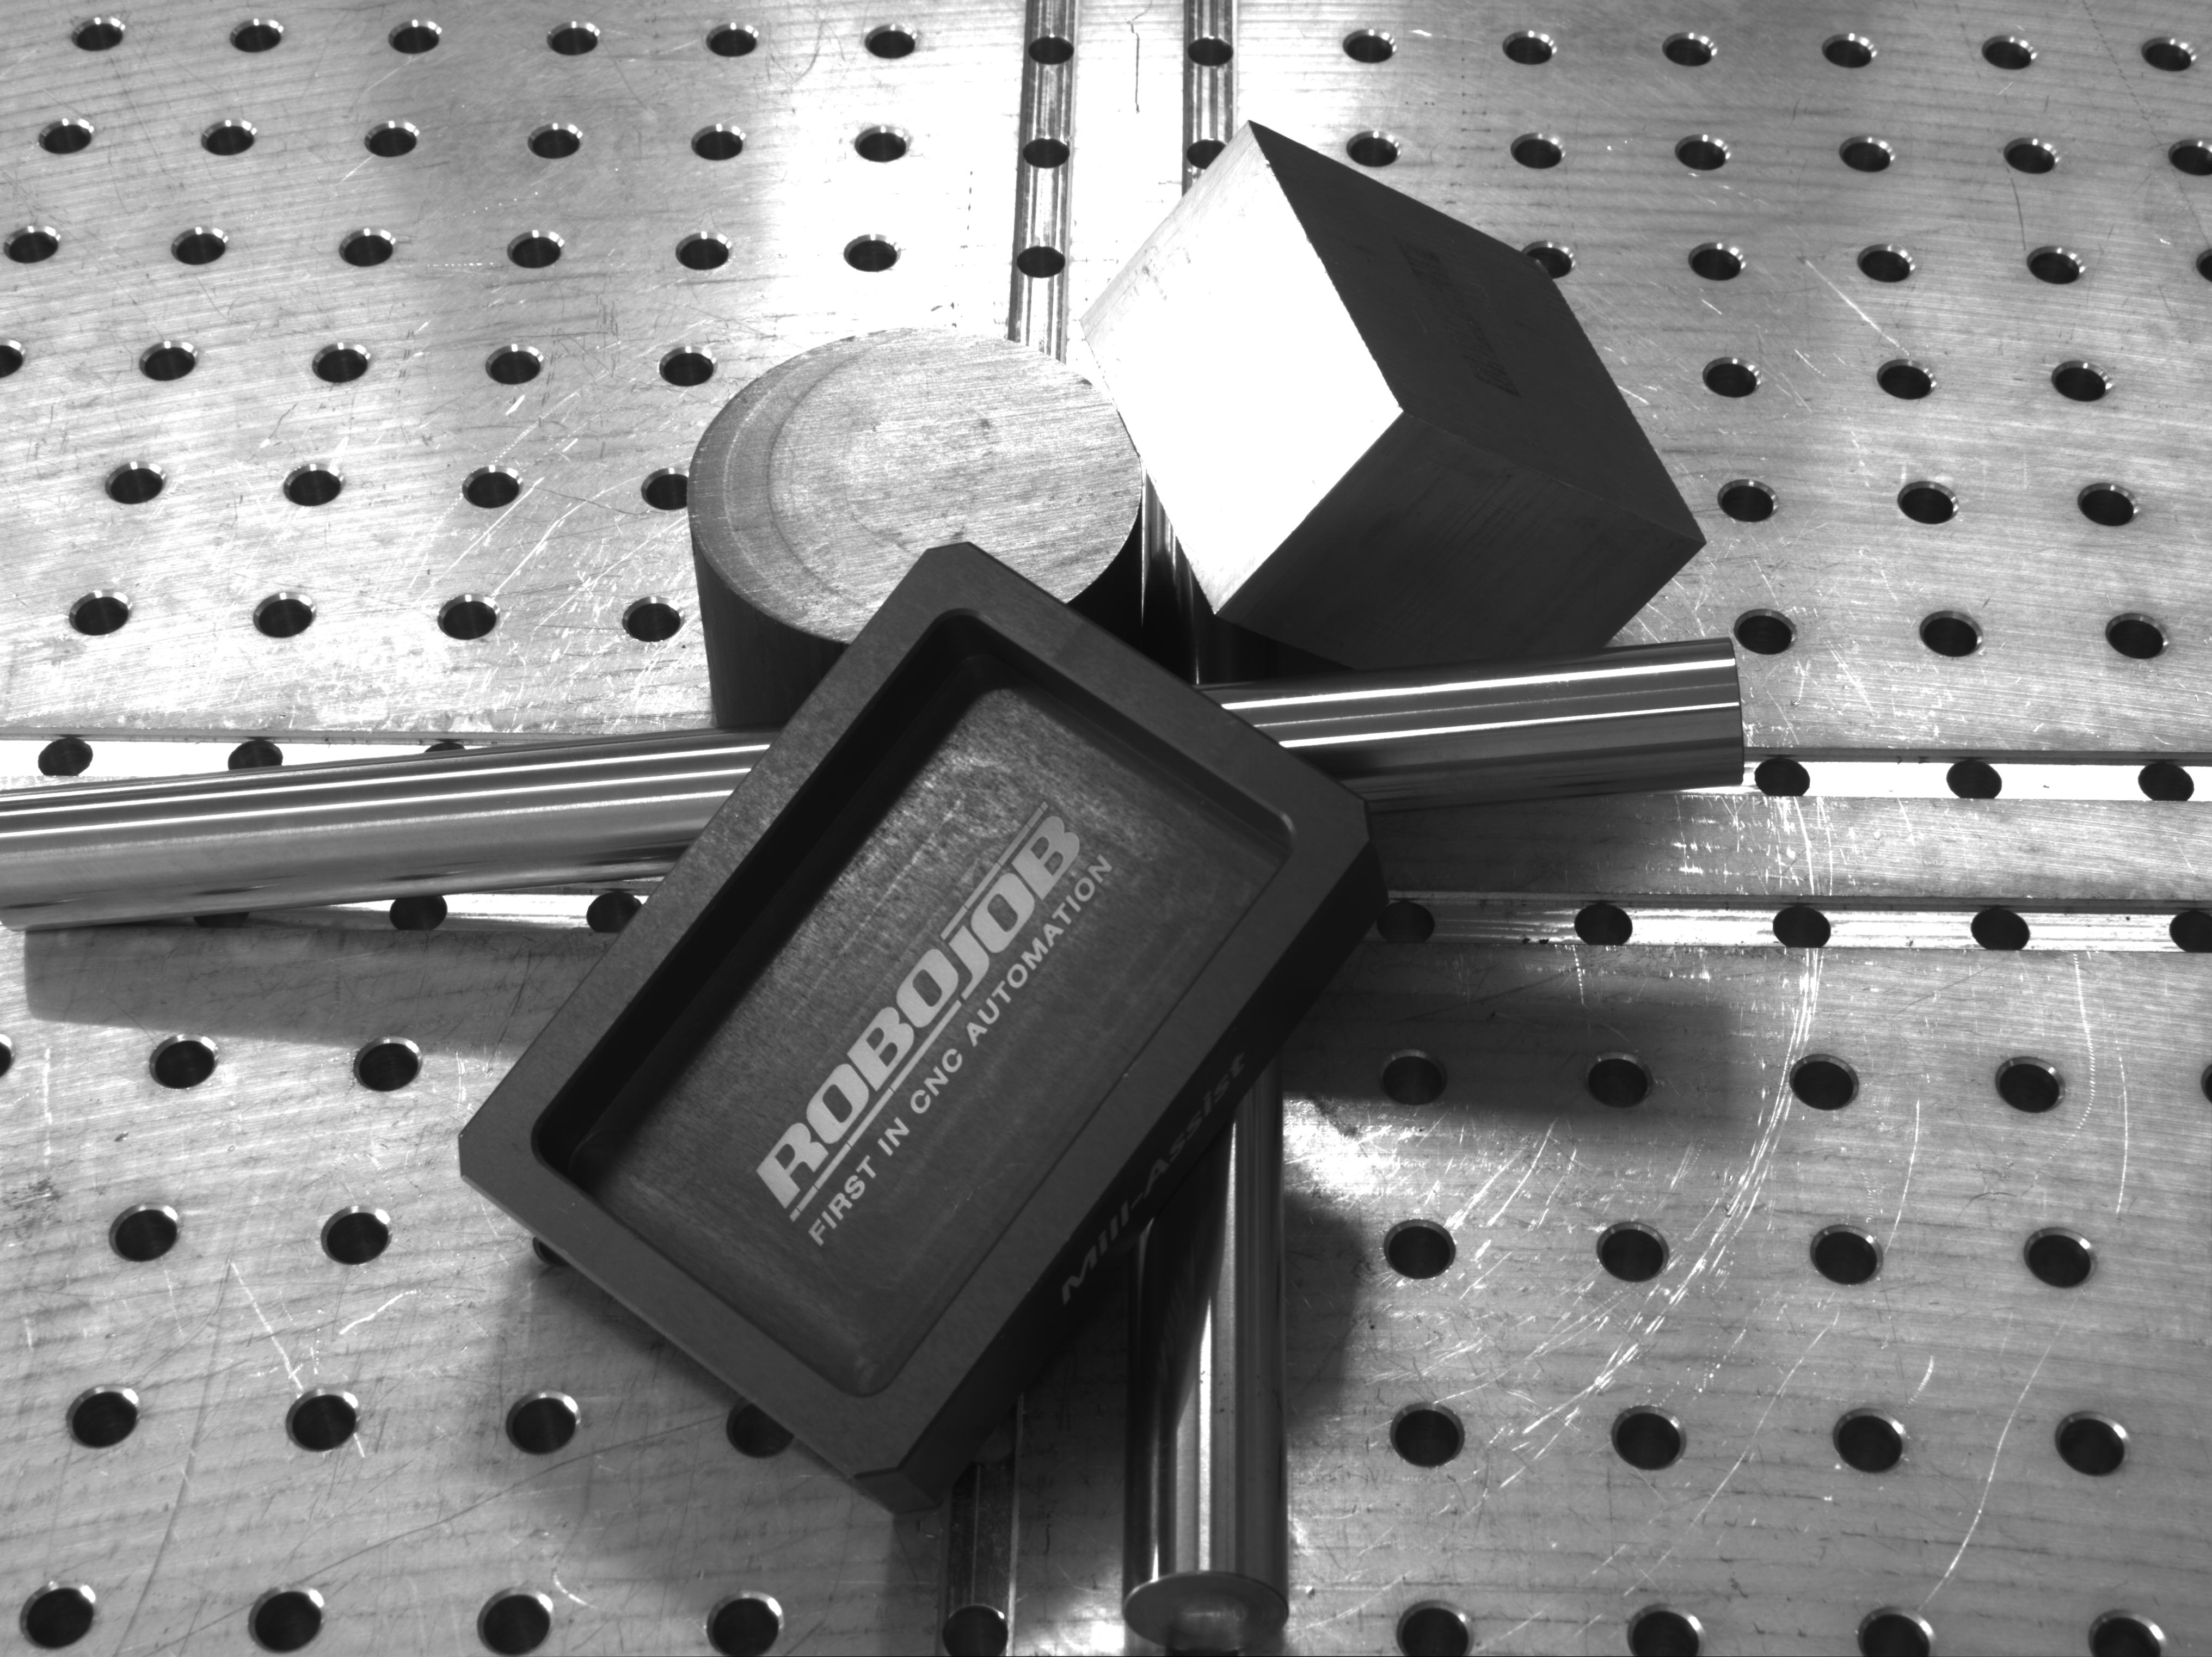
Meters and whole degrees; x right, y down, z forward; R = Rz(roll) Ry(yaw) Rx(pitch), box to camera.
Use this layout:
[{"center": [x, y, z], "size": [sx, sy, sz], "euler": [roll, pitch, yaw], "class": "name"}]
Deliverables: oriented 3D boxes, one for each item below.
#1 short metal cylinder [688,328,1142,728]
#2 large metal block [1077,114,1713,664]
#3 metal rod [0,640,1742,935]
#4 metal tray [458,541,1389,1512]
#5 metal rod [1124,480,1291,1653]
[{"center": [-0.033, -0.045, 0.667], "size": [0.080, 0.050, 0.080], "euler": [0, 50, 0], "class": "short metal cylinder"}, {"center": [0.051, -0.072, 0.664], "size": [0.080, 0.050, 0.080], "euler": [17, 37, -40], "class": "large metal block"}, {"center": [-0.043, -0.007, 0.630], "size": [0.300, 0.025, 0.025], "euler": [-5, 50, 5], "class": "metal rod"}, {"center": [-0.028, 0.030, 0.583], "size": [0.090, 0.030, 0.130], "euler": [34, 78, 18], "class": "metal tray"}, {"center": [0.018, 0.002, 0.644], "size": [0.025, 0.025, 0.300], "euler": [1, 50, 1], "class": "metal rod"}]
